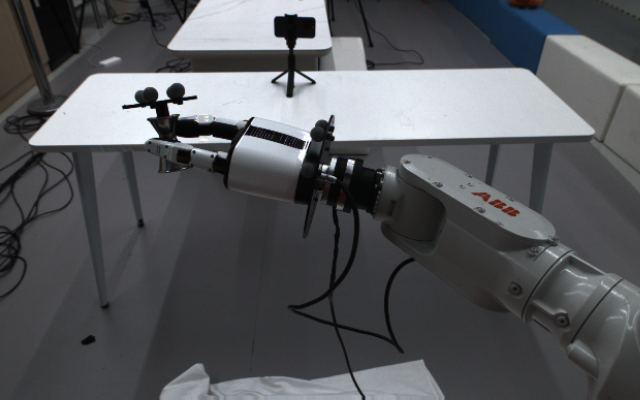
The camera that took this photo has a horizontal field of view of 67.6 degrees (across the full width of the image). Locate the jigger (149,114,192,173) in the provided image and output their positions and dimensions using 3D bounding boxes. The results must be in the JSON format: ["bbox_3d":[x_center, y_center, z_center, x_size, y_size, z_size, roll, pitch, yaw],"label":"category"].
[{"bbox_3d":[-0.189,-0.072,0.615,0.043,0.071,0.043,-8,15,2],"label":"jigger"}]
